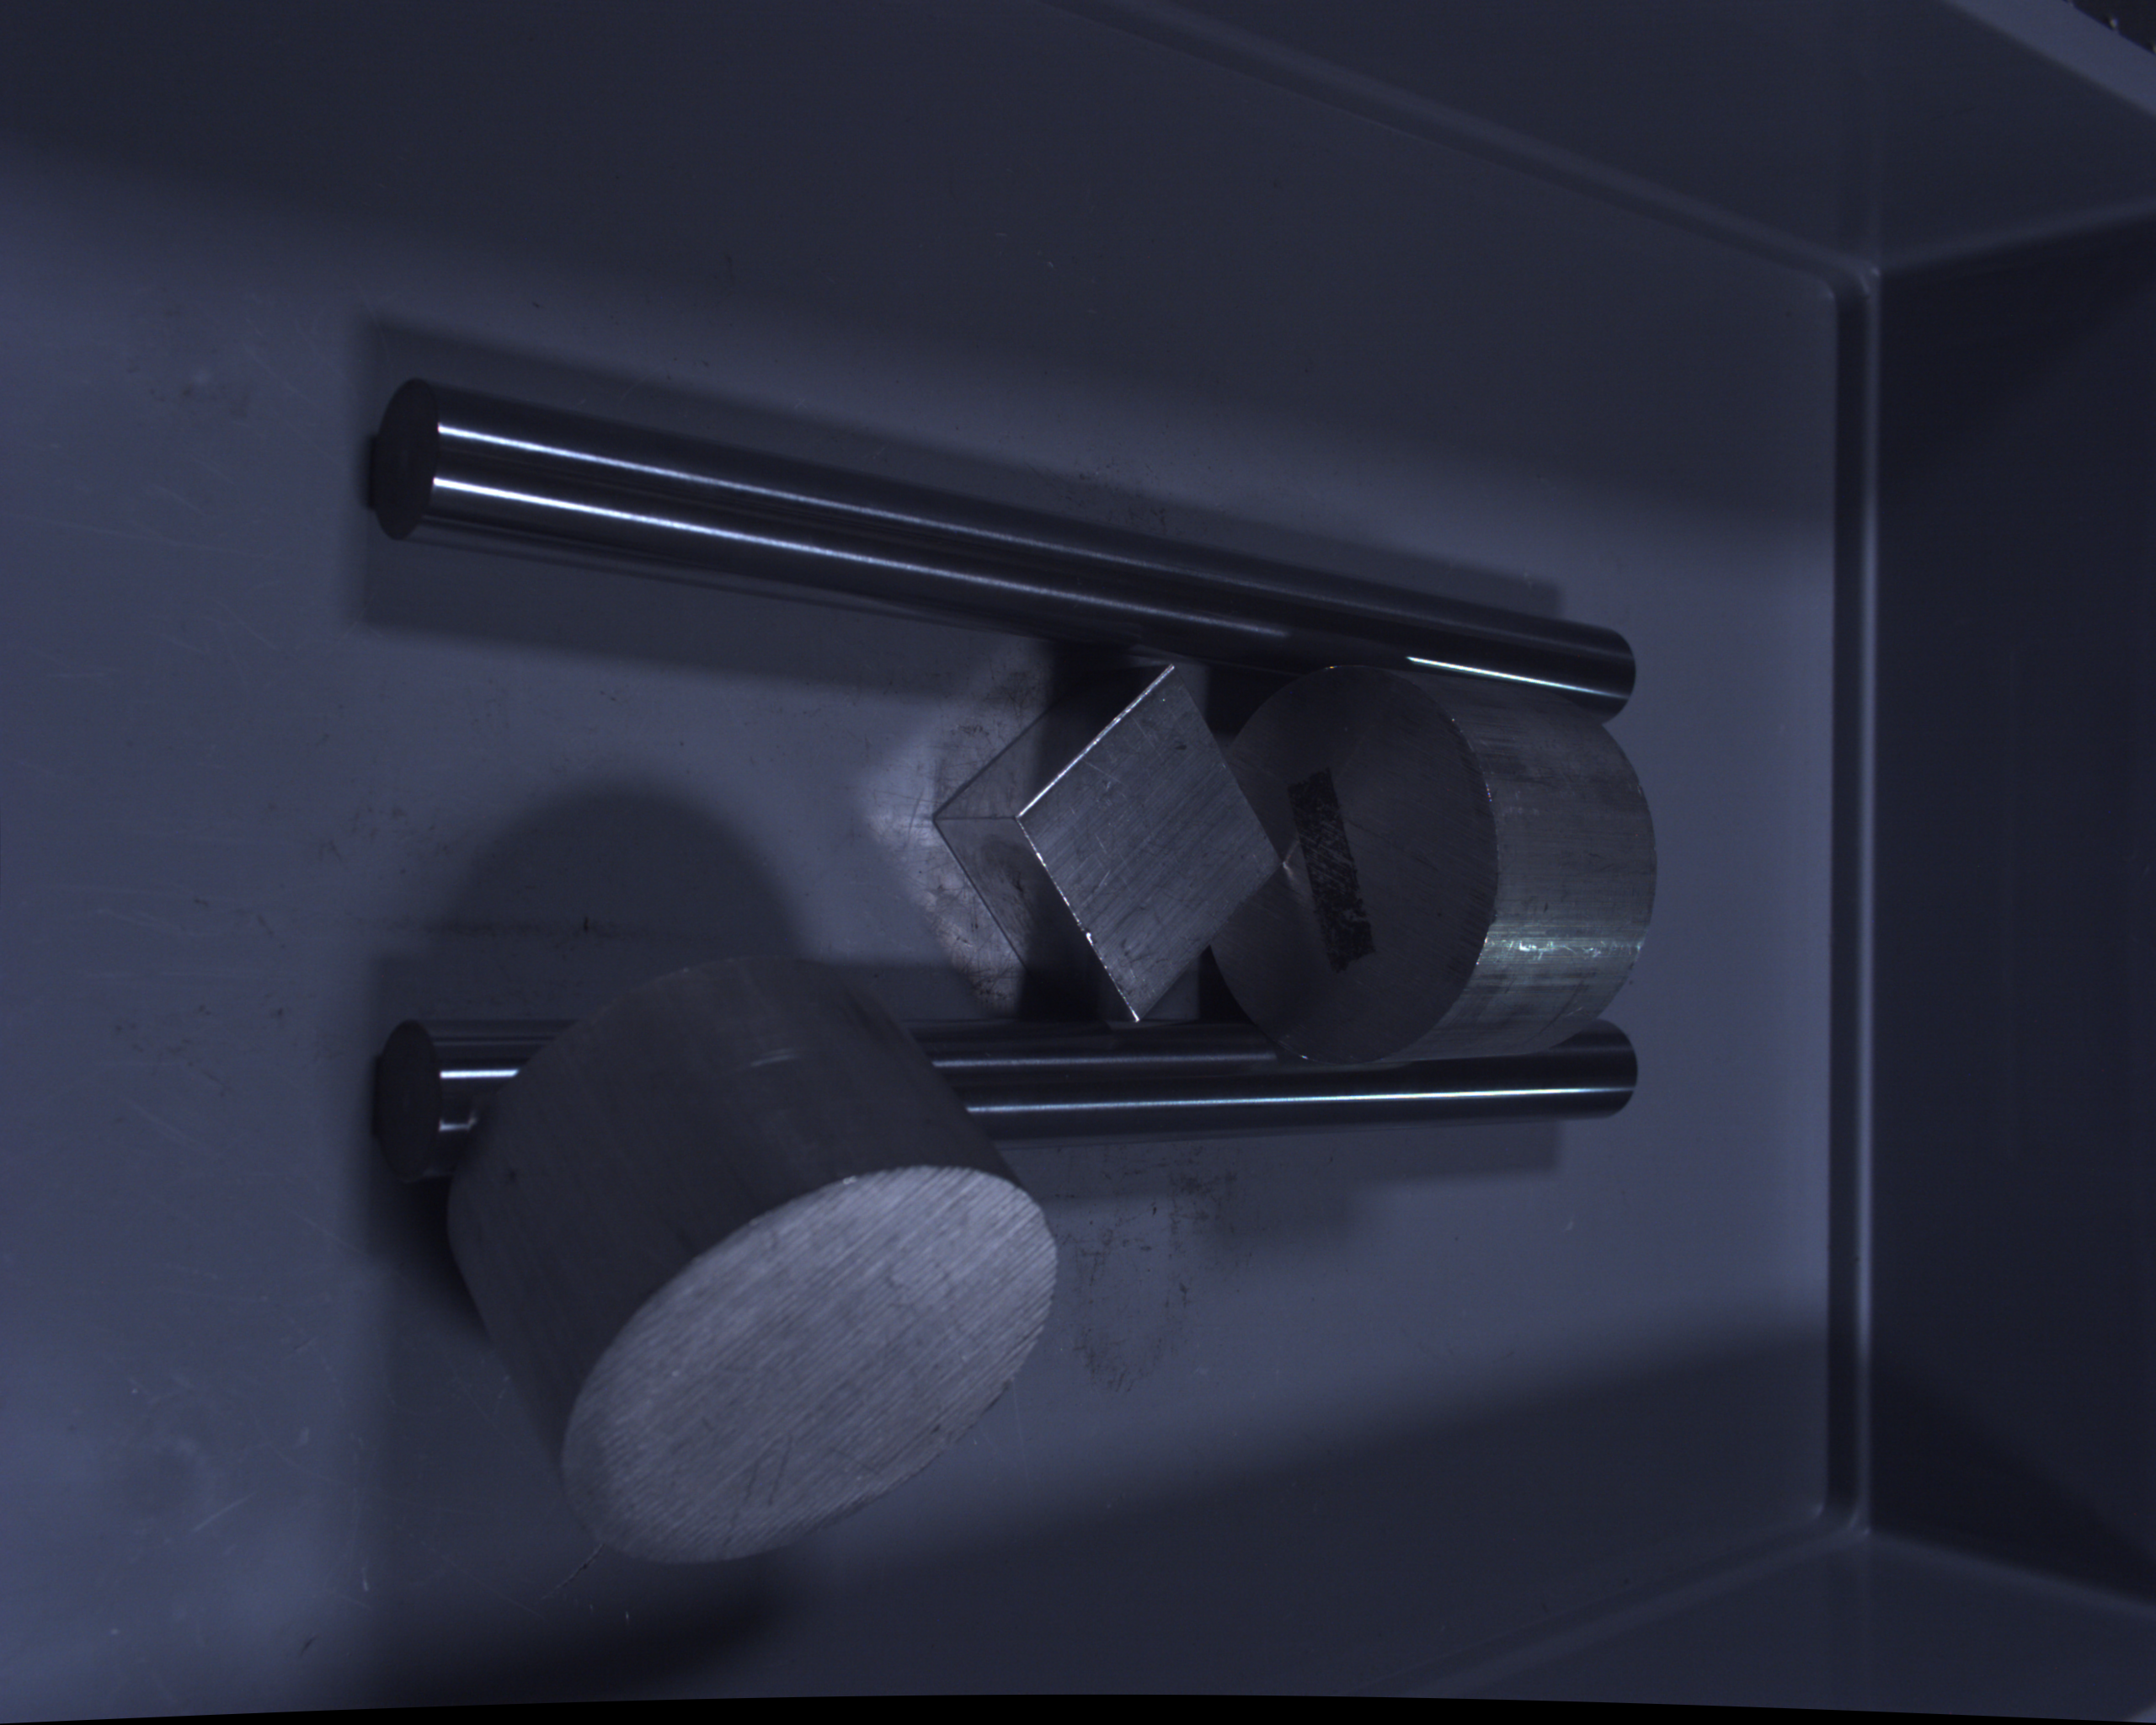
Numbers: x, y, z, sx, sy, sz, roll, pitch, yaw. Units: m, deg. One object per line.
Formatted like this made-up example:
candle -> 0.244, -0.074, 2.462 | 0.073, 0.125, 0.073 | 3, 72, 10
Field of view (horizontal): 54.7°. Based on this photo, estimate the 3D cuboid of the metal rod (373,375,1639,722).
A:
metal rod -> 0.012, -0.054, 0.416 | 0.302, 0.025, 0.025 | 4, 88, -40

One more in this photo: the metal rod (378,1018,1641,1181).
metal rod -> 0.013, 0.044, 0.417 | 0.302, 0.025, 0.025 | 4, 88, -40

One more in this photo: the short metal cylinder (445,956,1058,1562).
short metal cylinder -> -0.051, 0.061, 0.325 | 0.081, 0.050, 0.079 | -21, 135, -23

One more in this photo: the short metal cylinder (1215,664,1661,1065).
short metal cylinder -> 0.071, 0.001, 0.431 | 0.050, 0.080, 0.079 | 2, 89, -40

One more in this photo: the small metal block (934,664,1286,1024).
small metal block -> 0.007, -0.004, 0.413 | 0.050, 0.025, 0.050 | -45, 118, -31
